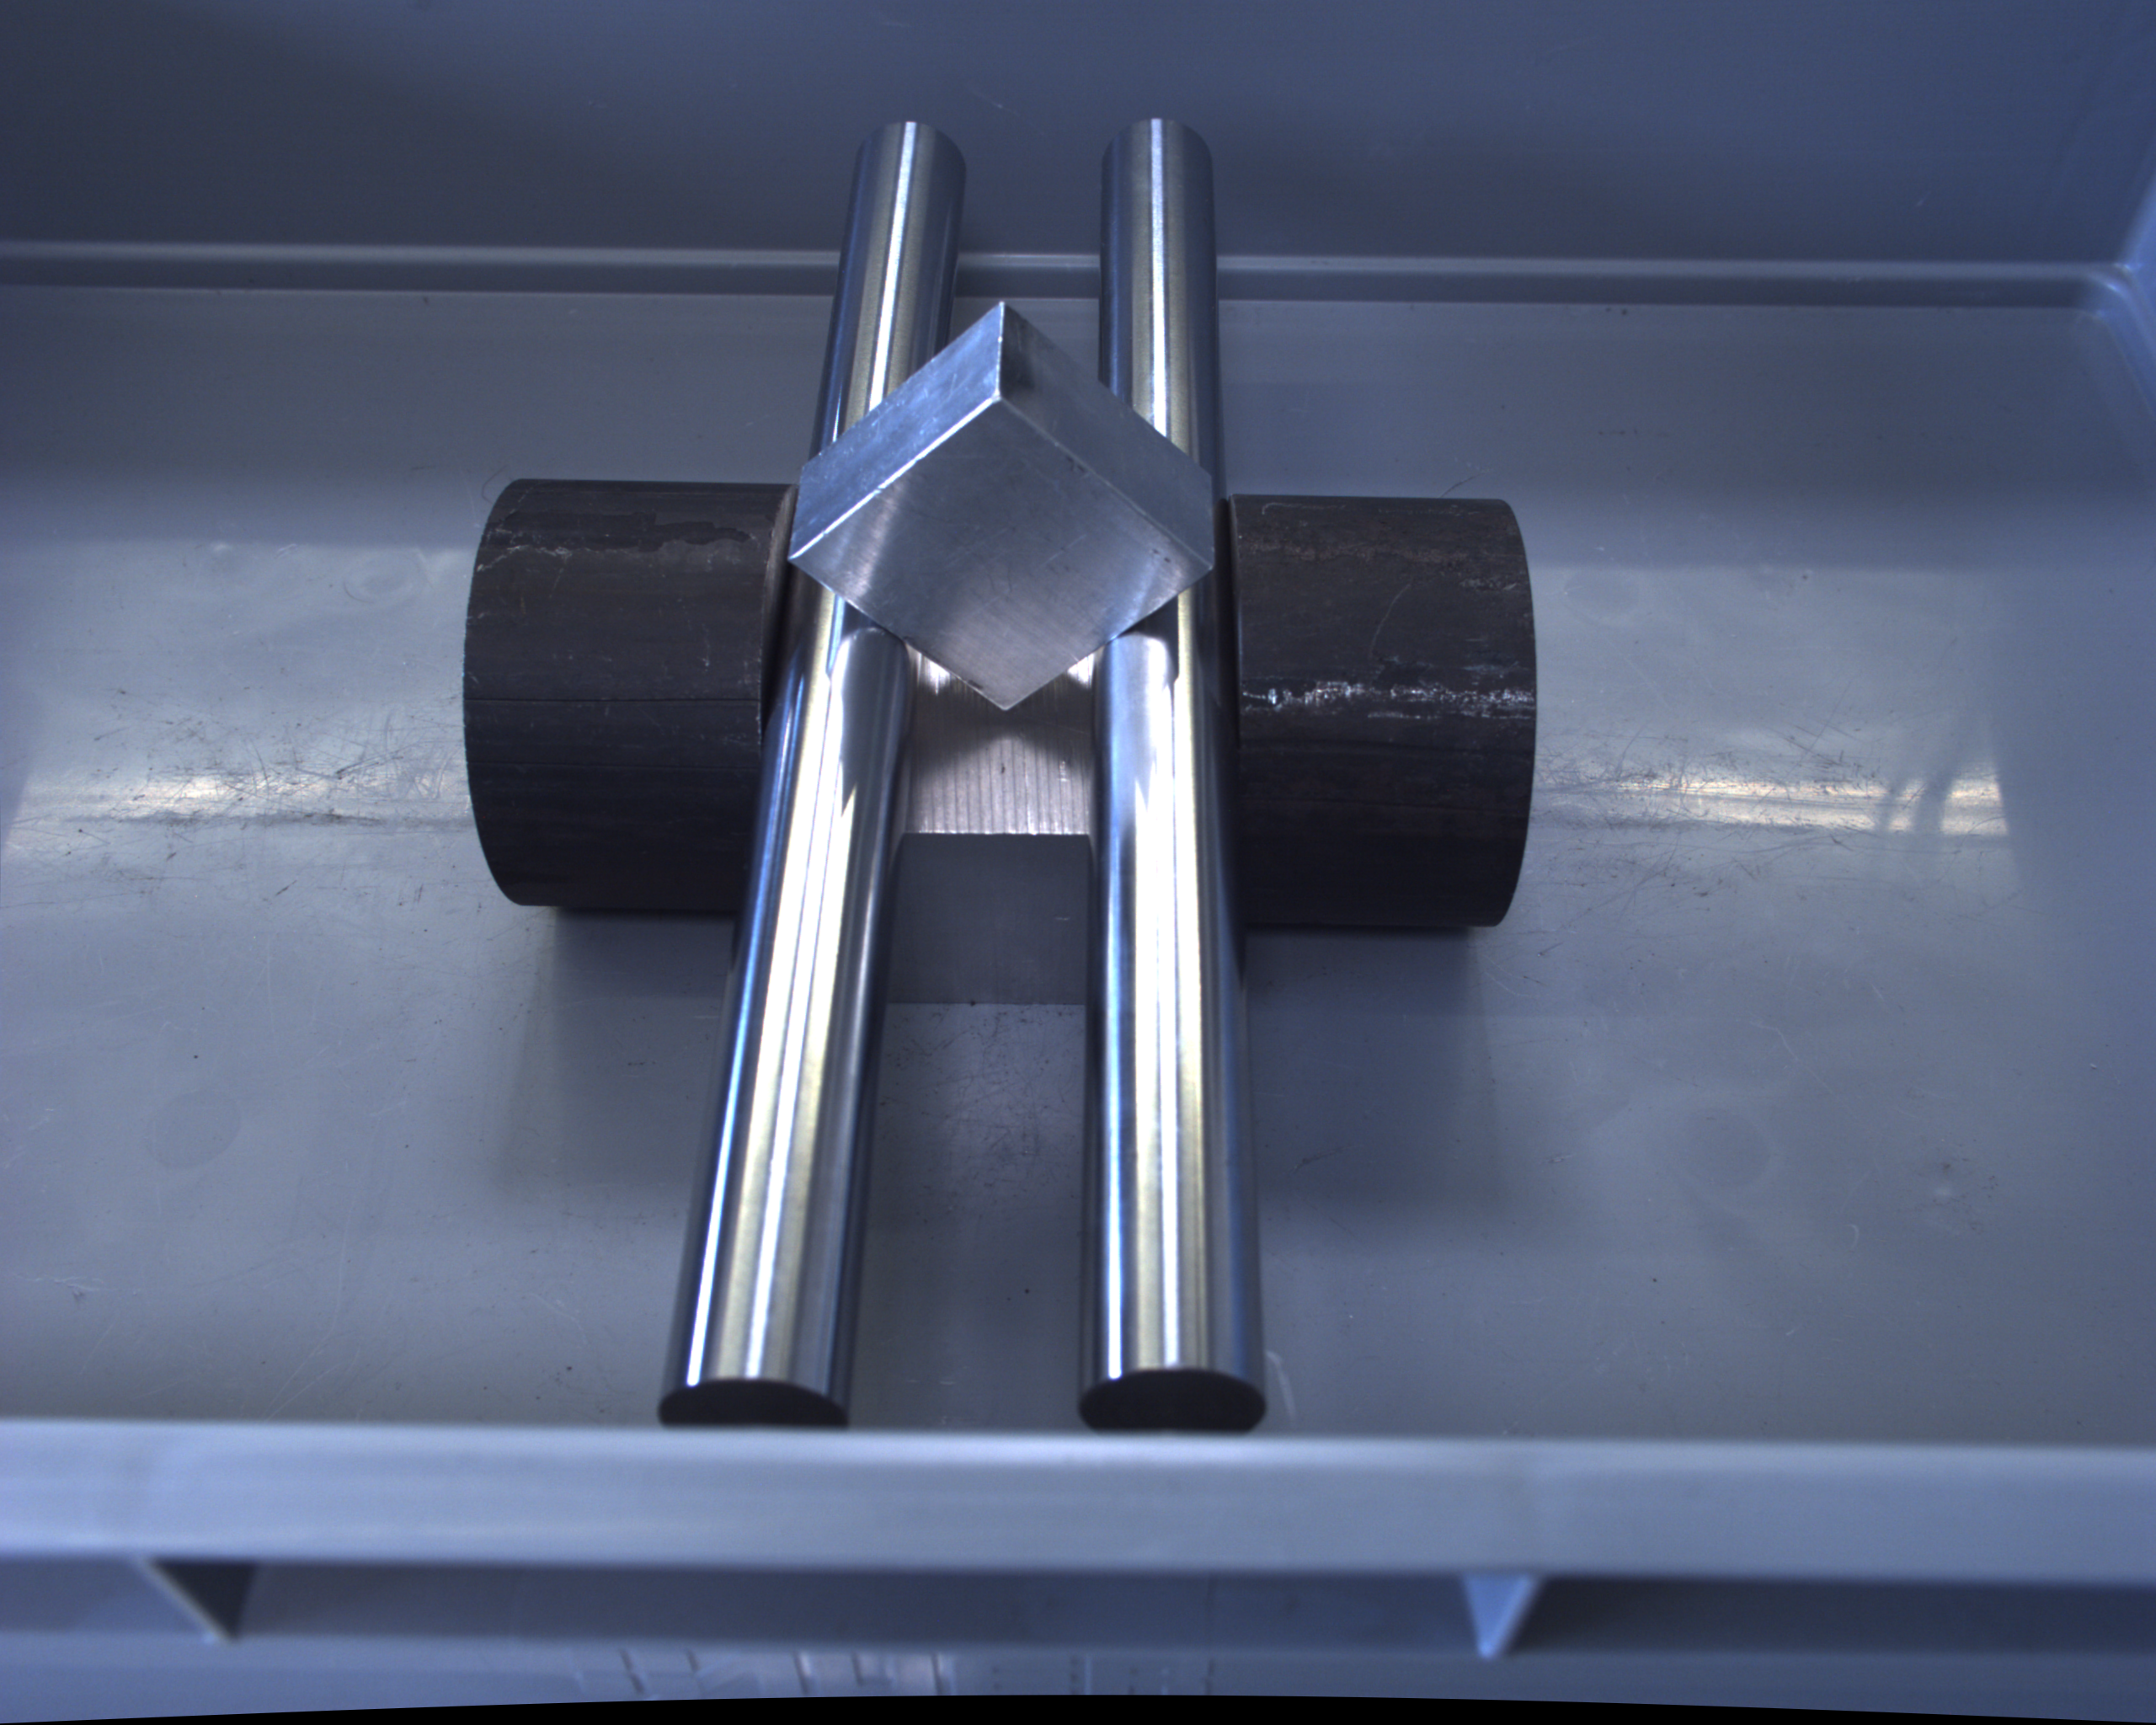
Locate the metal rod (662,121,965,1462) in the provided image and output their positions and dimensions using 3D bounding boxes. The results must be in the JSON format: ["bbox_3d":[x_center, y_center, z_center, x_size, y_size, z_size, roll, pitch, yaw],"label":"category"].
[{"bbox_3d":[-0.040,-0.041,0.372,0.025,0.025,0.300,1,50,0],"label":"metal rod"}]

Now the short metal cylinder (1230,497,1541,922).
[{"bbox_3d":[0.053,-0.028,0.391,0.050,0.080,0.080,0,50,1],"label":"short metal cylinder"}]

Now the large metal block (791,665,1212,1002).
[{"bbox_3d":[-0.013,-0.020,0.403,0.081,0.050,0.080,1,50,0],"label":"large metal block"}]

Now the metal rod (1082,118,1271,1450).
[{"bbox_3d":[0.015,-0.042,0.374,0.025,0.025,0.300,1,50,0],"label":"metal rod"}]

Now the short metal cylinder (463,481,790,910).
[{"bbox_3d":[-0.078,-0.031,0.393,0.050,0.080,0.080,1,50,1],"label":"short metal cylinder"}]

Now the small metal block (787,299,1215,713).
[{"bbox_3d":[-0.013,-0.059,0.354,0.050,0.050,0.025,-31,41,33],"label":"small metal block"}]
